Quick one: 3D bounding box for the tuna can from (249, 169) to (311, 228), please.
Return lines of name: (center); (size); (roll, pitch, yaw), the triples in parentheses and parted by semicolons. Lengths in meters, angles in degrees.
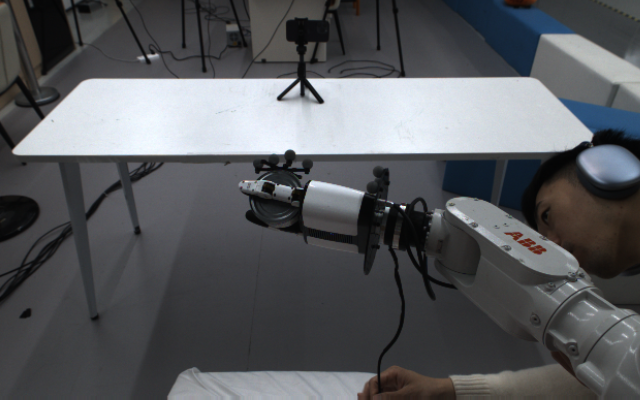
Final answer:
tuna can: (-0.063, -0.001, 0.744); (0.085, 0.034, 0.085); (-3, 73, 10)
